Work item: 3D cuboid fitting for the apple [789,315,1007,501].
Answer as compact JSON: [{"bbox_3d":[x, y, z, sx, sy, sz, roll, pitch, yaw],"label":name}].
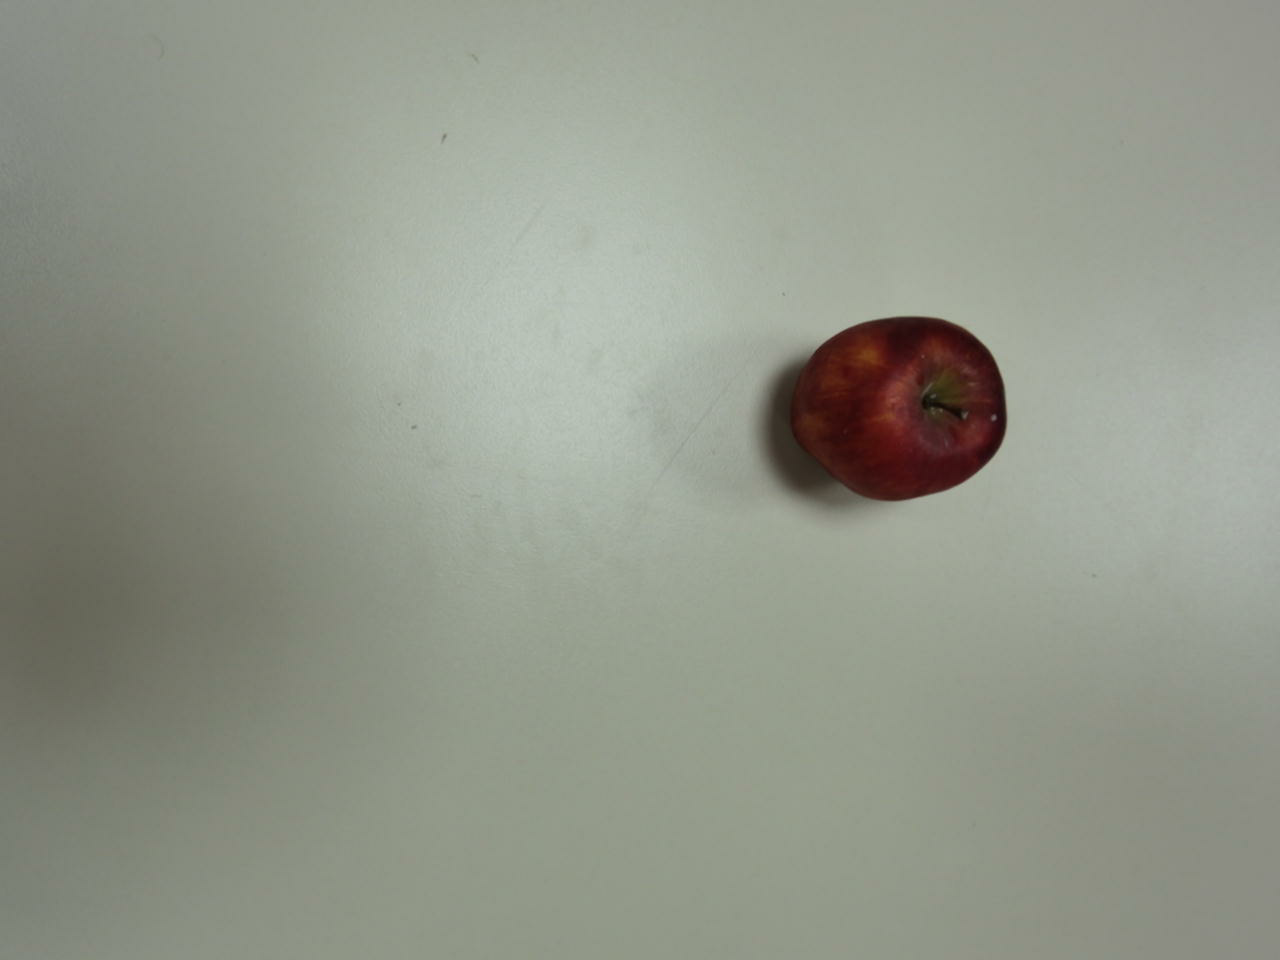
[{"bbox_3d":[0.108,-0.030,0.413,0.083,0.090,0.083,0,90,-11],"label":"apple"}]
